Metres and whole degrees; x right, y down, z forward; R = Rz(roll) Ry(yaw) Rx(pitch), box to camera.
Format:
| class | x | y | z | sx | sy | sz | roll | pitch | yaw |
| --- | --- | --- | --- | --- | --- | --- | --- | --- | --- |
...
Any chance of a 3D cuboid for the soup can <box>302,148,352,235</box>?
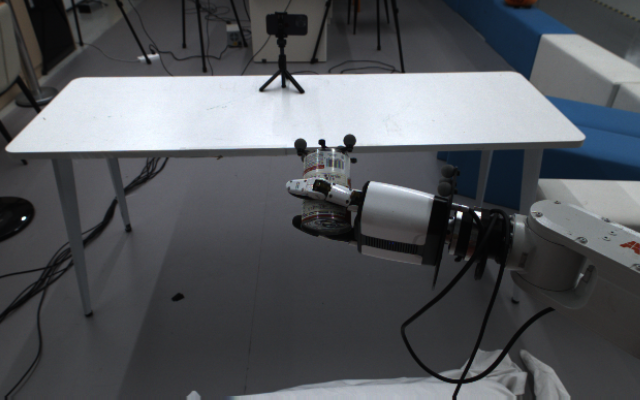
| class | x | y | z | sx | sy | sz | roll | pitch | yaw |
| --- | --- | --- | --- | --- | --- | --- | --- | --- | --- |
| soup can | 0.010 | -0.010 | 0.653 | 0.067 | 0.067 | 0.101 | 2 | 68 | -1 |
